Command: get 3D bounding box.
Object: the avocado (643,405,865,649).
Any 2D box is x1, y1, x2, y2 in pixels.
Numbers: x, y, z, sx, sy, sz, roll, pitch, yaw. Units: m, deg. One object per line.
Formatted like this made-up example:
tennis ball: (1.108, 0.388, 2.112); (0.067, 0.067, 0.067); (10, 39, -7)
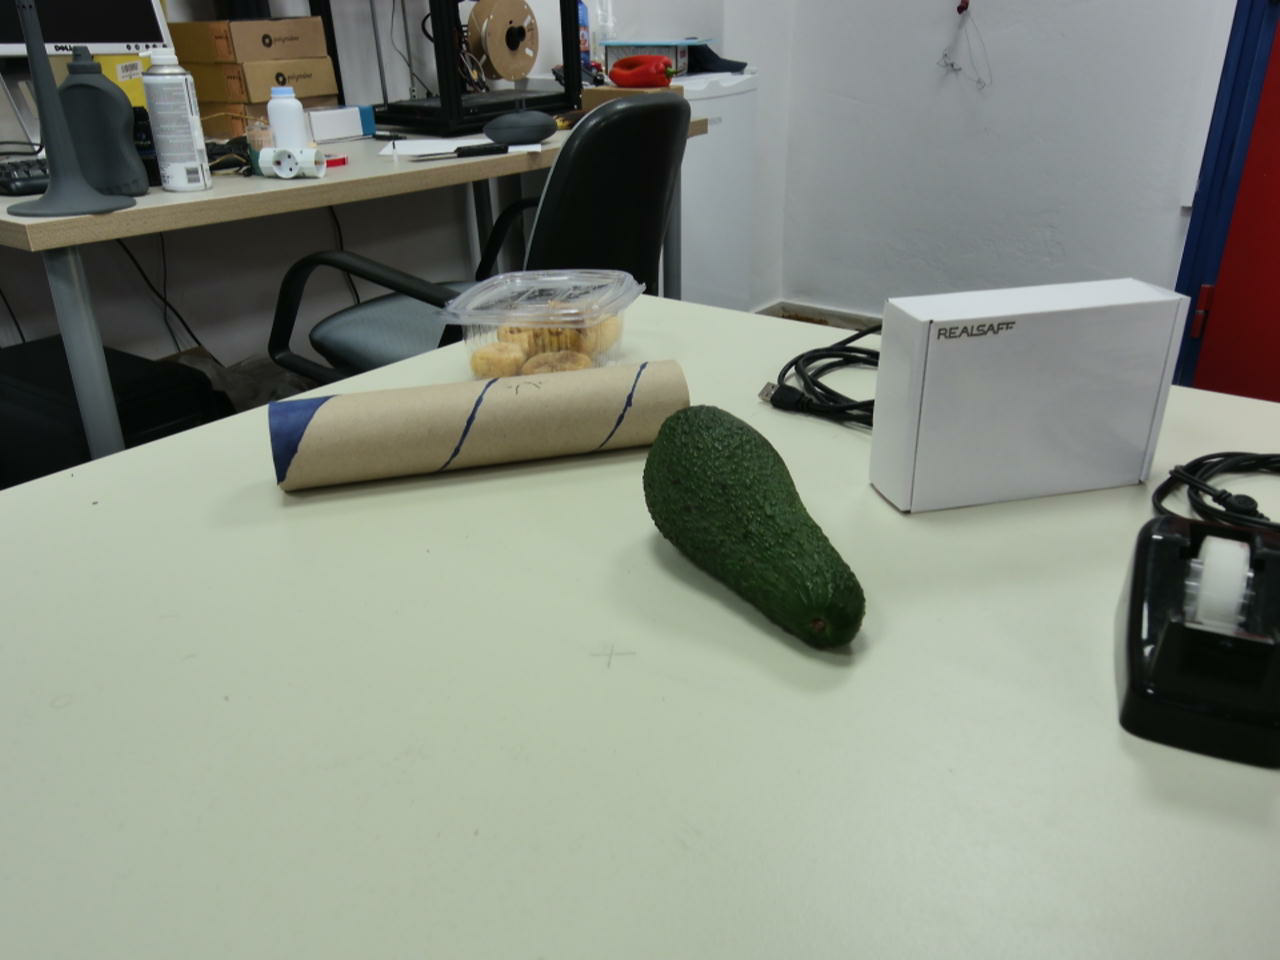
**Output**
avocado: (0.051, 0.012, 0.422); (0.063, 0.067, 0.141); (-16, 27, -33)
